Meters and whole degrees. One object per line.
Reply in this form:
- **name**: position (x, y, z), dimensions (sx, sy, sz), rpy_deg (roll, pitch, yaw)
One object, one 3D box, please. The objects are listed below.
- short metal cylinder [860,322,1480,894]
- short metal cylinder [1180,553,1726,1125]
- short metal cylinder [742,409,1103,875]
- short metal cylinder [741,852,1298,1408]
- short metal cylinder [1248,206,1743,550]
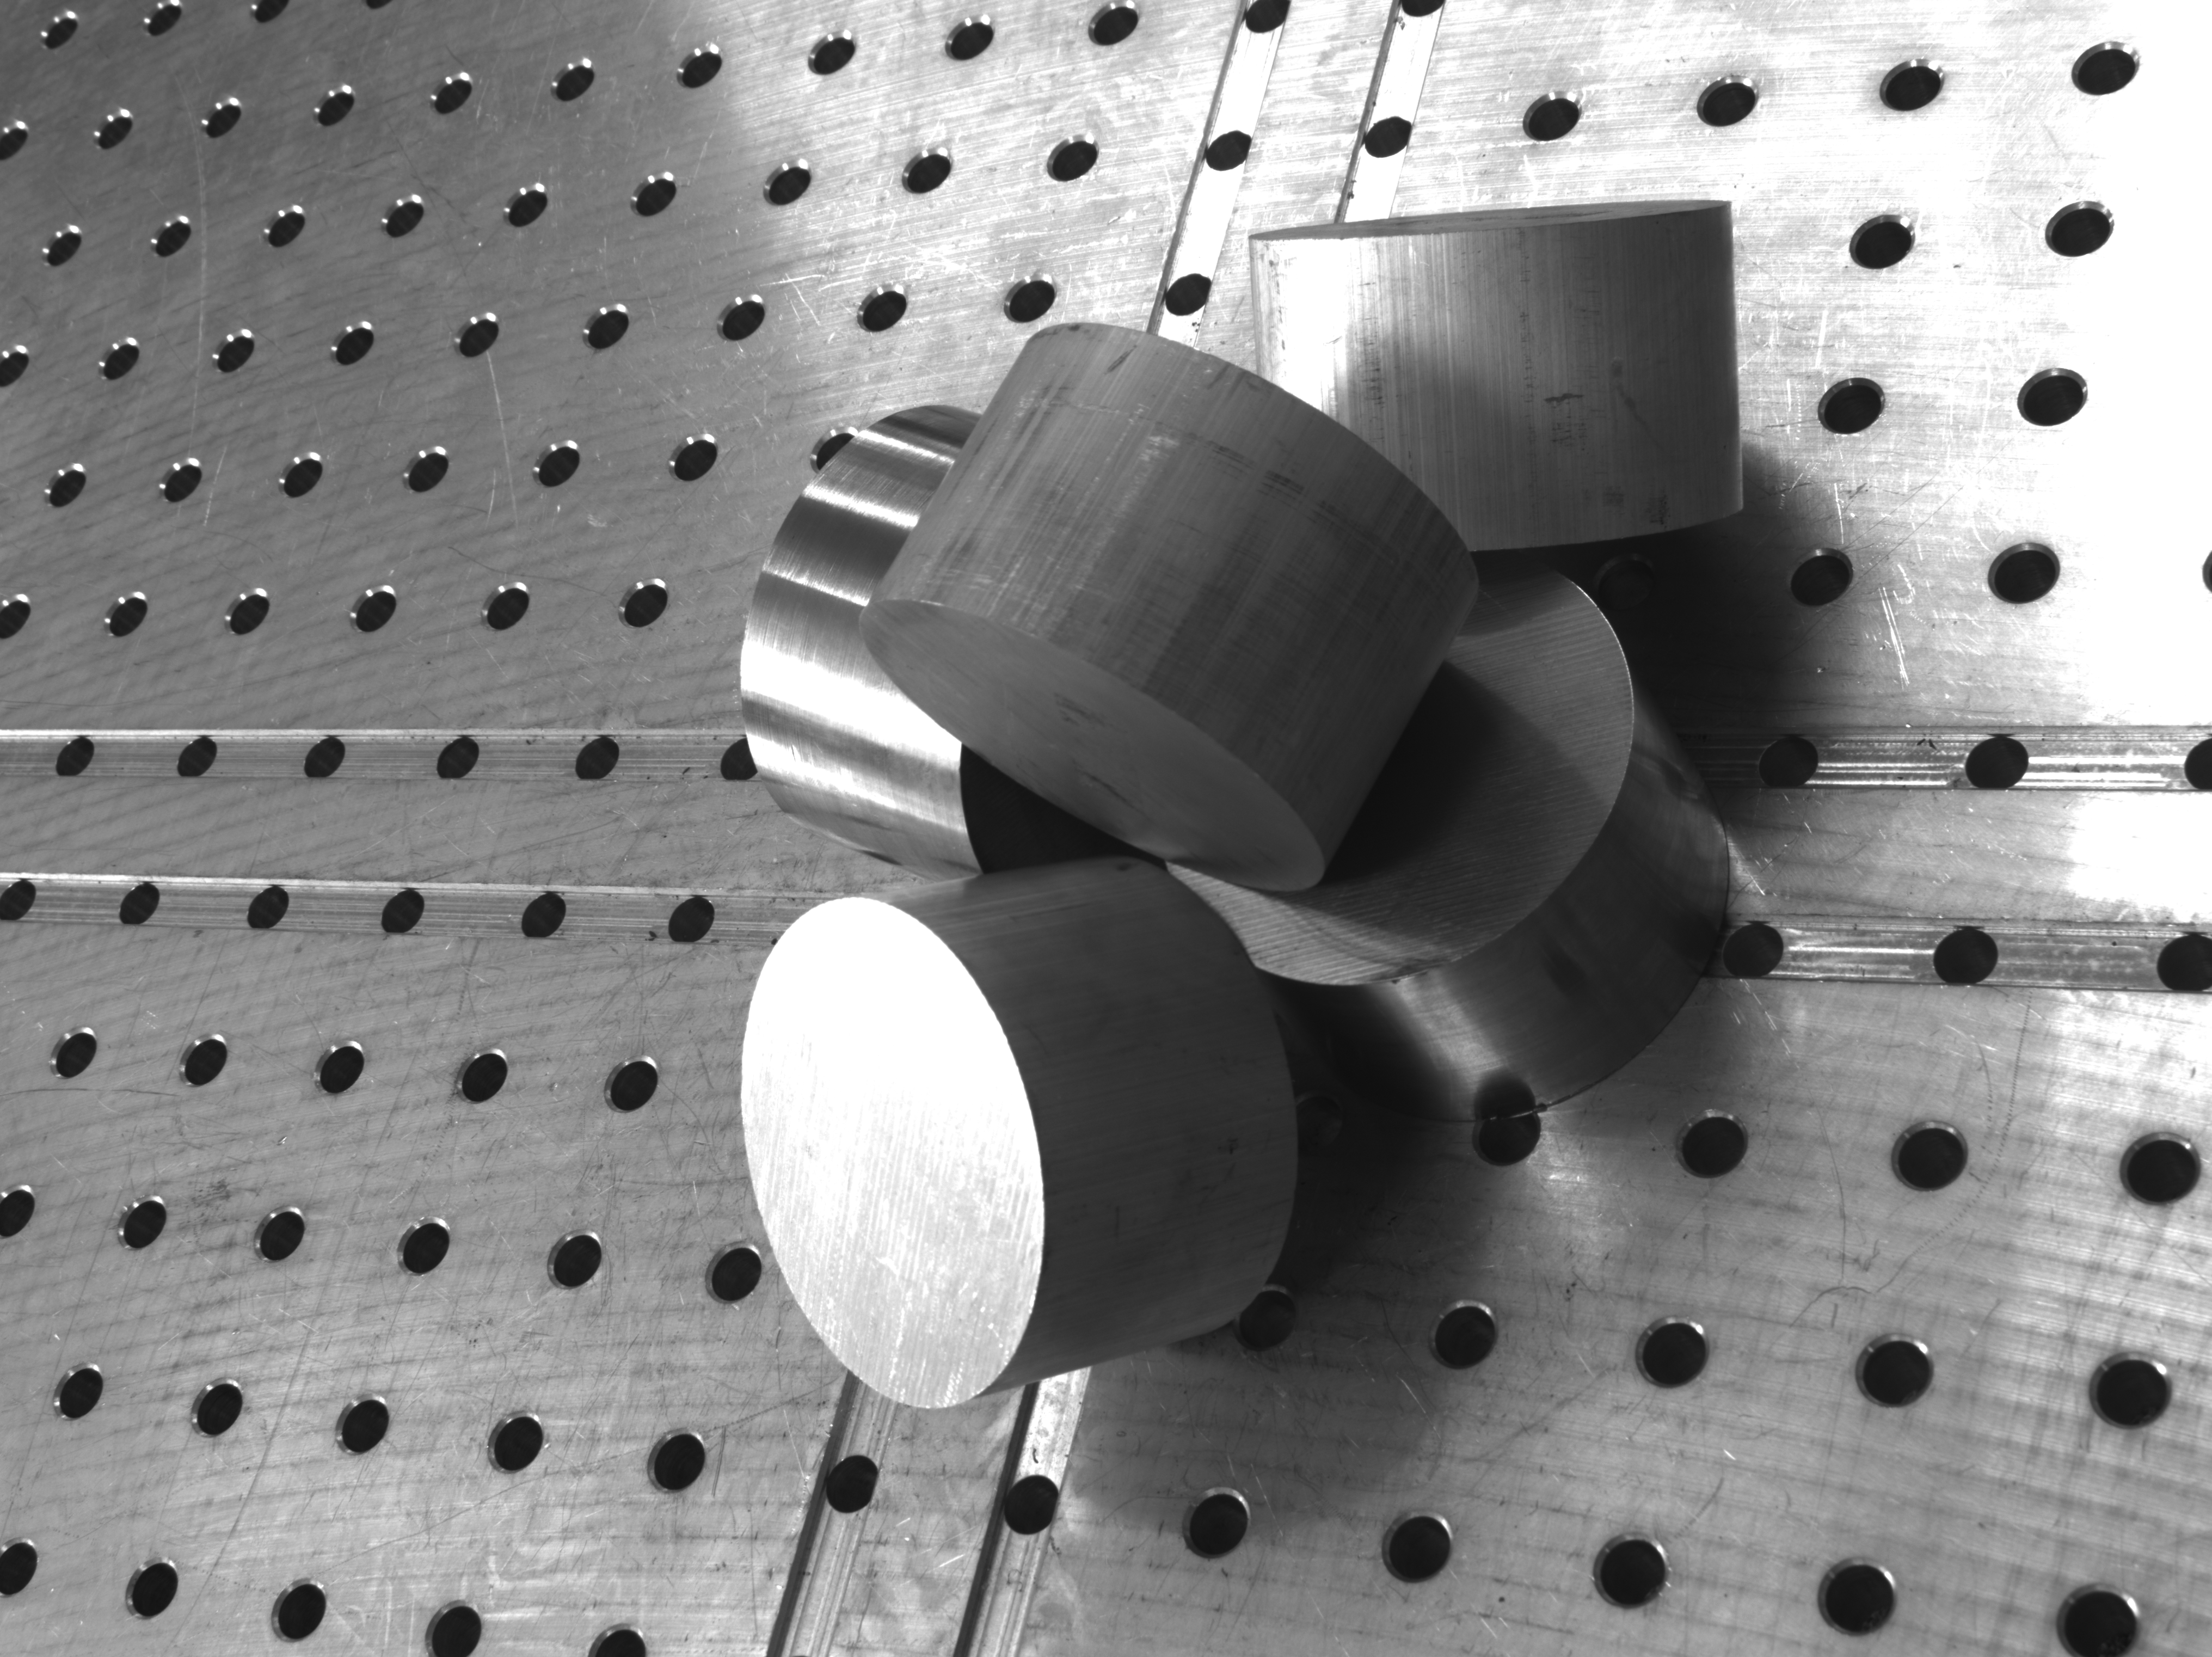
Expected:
- **short metal cylinder**: position (0.010, -0.033, 0.562), dimensions (0.080, 0.080, 0.050), rpy_deg (19, 71, 36)
- **short metal cylinder**: position (0.055, 0.001, 0.601), dimensions (0.080, 0.050, 0.080), rpy_deg (-14, 54, 21)
- **short metal cylinder**: position (-0.017, -0.028, 0.639), dimensions (0.050, 0.080, 0.080), rpy_deg (20, 72, 36)
- **short metal cylinder**: position (-0.015, 0.047, 0.585), dimensions (0.080, 0.050, 0.080), rpy_deg (15, 109, 49)
- **short metal cylinder**: position (0.065, -0.076, 0.616), dimensions (0.080, 0.080, 0.050), rpy_deg (2, 102, 29)
